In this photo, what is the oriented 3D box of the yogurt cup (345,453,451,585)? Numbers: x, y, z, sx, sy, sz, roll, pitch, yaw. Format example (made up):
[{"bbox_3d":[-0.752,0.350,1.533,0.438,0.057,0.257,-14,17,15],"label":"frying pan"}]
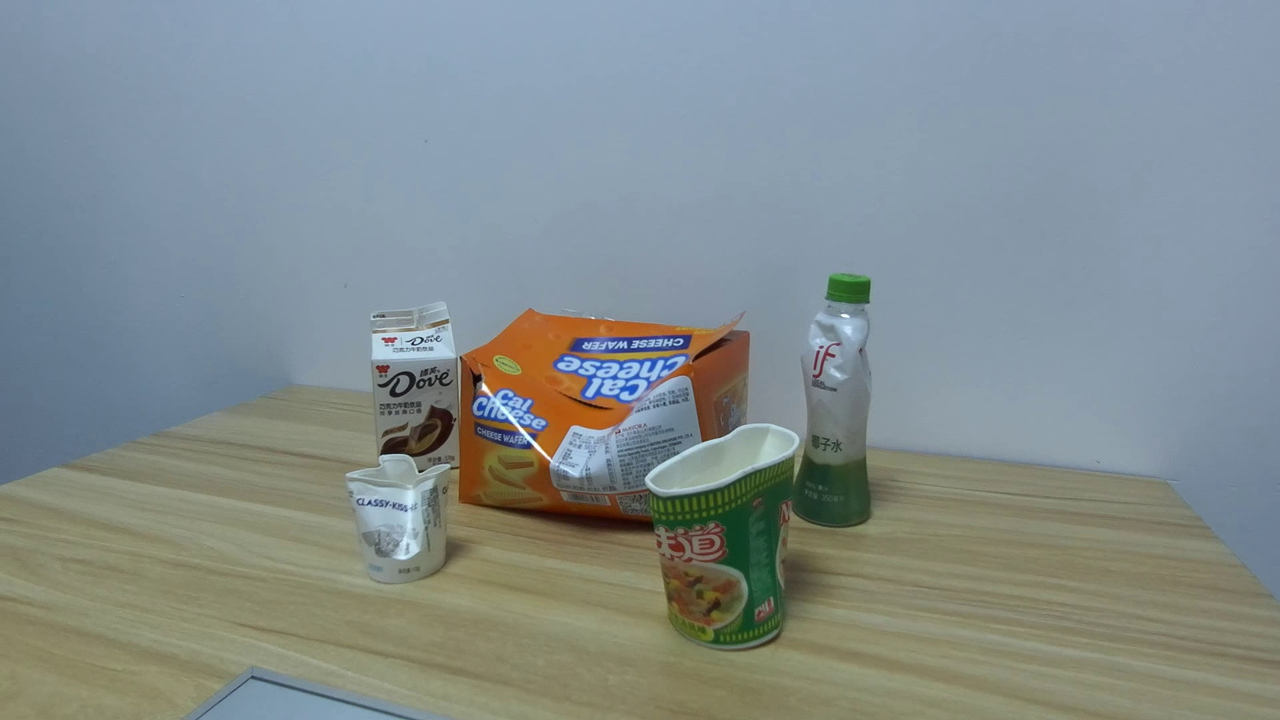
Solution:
[{"bbox_3d":[-0.160,0.106,0.482,0.054,0.072,0.055,5,13,25],"label":"yogurt cup"}]

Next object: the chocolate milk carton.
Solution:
[{"bbox_3d":[-0.208,0.023,0.658,0.075,0.148,0.074,-4,12,-17],"label":"chocolate milk carton"}]

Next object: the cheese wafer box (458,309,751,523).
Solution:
[{"bbox_3d":[-0.028,0.040,0.593,0.218,0.145,0.191,4,15,15],"label":"cheese wafer box"}]

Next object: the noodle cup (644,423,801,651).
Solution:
[{"bbox_3d":[0.050,0.102,0.413,0.115,0.111,0.070,-8,18,-26],"label":"noodle cup"}]

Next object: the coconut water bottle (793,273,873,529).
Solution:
[{"bbox_3d":[0.153,0.030,0.543,0.067,0.187,0.067,1,13,0],"label":"coconut water bottle"}]
